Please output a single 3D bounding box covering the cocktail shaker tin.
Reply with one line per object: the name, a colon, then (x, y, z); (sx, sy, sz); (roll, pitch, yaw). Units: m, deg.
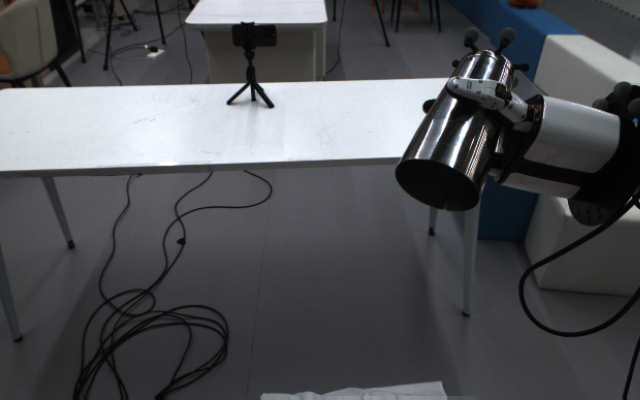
cocktail shaker tin: (0.161, -0.087, 0.535); (0.093, 0.093, 0.170); (18, 66, 21)
